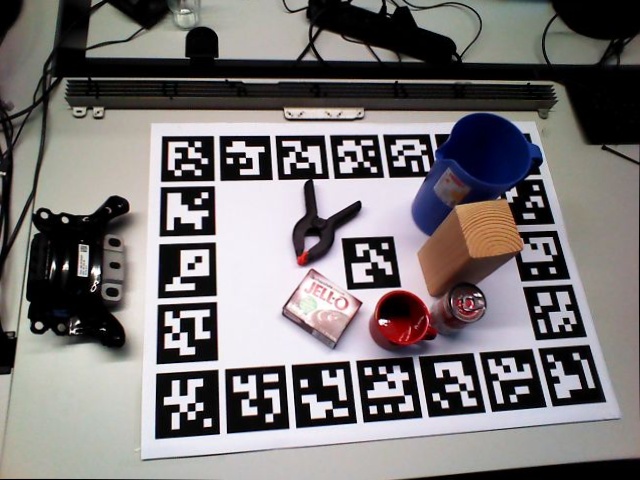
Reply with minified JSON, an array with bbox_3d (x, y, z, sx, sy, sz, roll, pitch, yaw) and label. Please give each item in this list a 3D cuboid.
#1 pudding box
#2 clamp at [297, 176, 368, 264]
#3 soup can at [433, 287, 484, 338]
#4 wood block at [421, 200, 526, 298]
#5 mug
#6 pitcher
[{"bbox_3d":[-0.002,0.118,0.889,0.114,0.039,0.089,33,71,8],"label":"pudding box"},{"bbox_3d":[0.007,-0.028,0.957,0.122,0.037,0.164,28,68,-2],"label":"clamp"},{"bbox_3d":[0.237,0.124,0.875,0.068,0.102,0.067,2,70,-6],"label":"soup can"},{"bbox_3d":[0.254,0.021,0.862,0.090,0.207,0.090,-3,67,-12],"label":"wood block"},{"bbox_3d":[0.145,0.149,0.867,0.117,0.082,0.092,31,65,8],"label":"mug"},{"bbox_3d":[0.271,-0.097,0.897,0.189,0.243,0.132,-3,66,-5],"label":"pitcher"}]
